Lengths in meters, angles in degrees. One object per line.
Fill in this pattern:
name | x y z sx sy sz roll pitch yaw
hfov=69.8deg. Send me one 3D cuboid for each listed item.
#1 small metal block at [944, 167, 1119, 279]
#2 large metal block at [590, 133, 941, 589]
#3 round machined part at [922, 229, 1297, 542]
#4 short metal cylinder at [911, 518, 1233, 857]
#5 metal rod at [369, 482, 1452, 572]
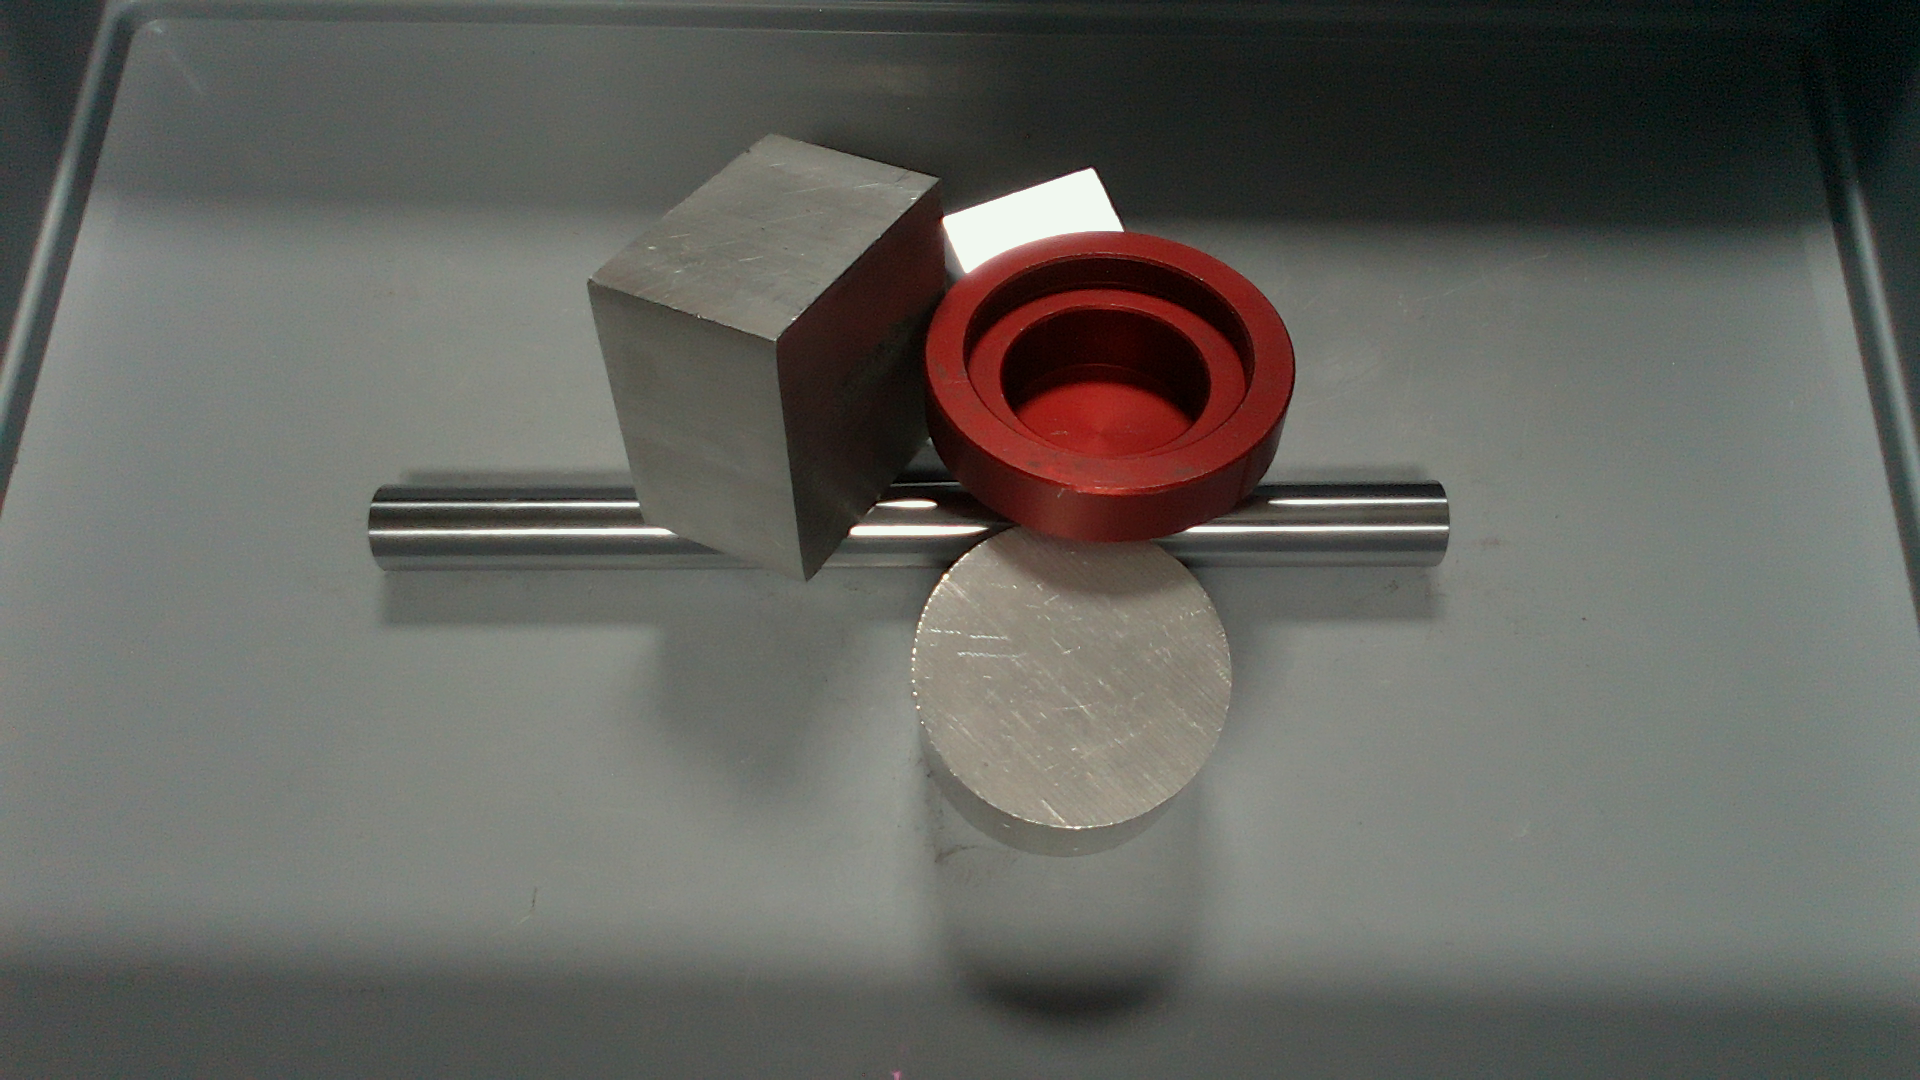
small metal block | 0.026 -0.080 0.423 0.050 0.025 0.050 -20 71 -7
large metal block | -0.046 -0.049 0.366 0.050 0.080 0.080 20 48 19
round machined part | 0.039 -0.038 0.378 0.098 0.042 0.098 0 52 0
short metal cylinder | 0.028 0.040 0.365 0.080 0.050 0.080 0 70 0
metal rod | -0.013 -0.004 0.393 0.300 0.025 0.025 0 70 0
